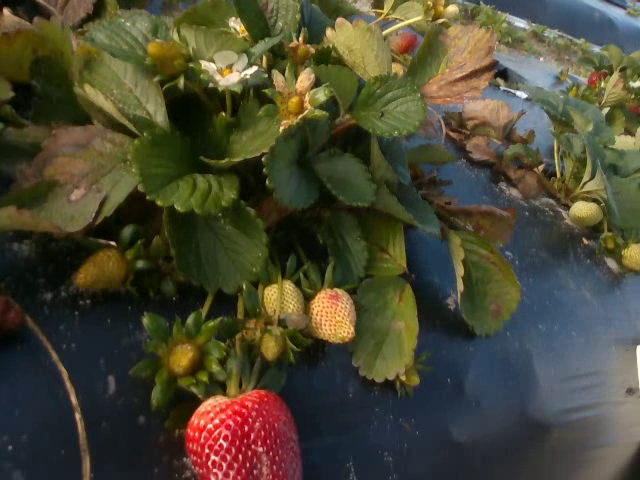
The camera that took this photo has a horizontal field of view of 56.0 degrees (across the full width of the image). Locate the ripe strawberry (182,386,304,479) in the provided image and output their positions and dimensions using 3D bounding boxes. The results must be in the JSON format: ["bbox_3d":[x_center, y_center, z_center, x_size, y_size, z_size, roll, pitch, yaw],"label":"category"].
[{"bbox_3d":[-0.032,0.099,0.265,0.052,0.044,0.067,4,35,-32],"label":"ripe strawberry"}]
